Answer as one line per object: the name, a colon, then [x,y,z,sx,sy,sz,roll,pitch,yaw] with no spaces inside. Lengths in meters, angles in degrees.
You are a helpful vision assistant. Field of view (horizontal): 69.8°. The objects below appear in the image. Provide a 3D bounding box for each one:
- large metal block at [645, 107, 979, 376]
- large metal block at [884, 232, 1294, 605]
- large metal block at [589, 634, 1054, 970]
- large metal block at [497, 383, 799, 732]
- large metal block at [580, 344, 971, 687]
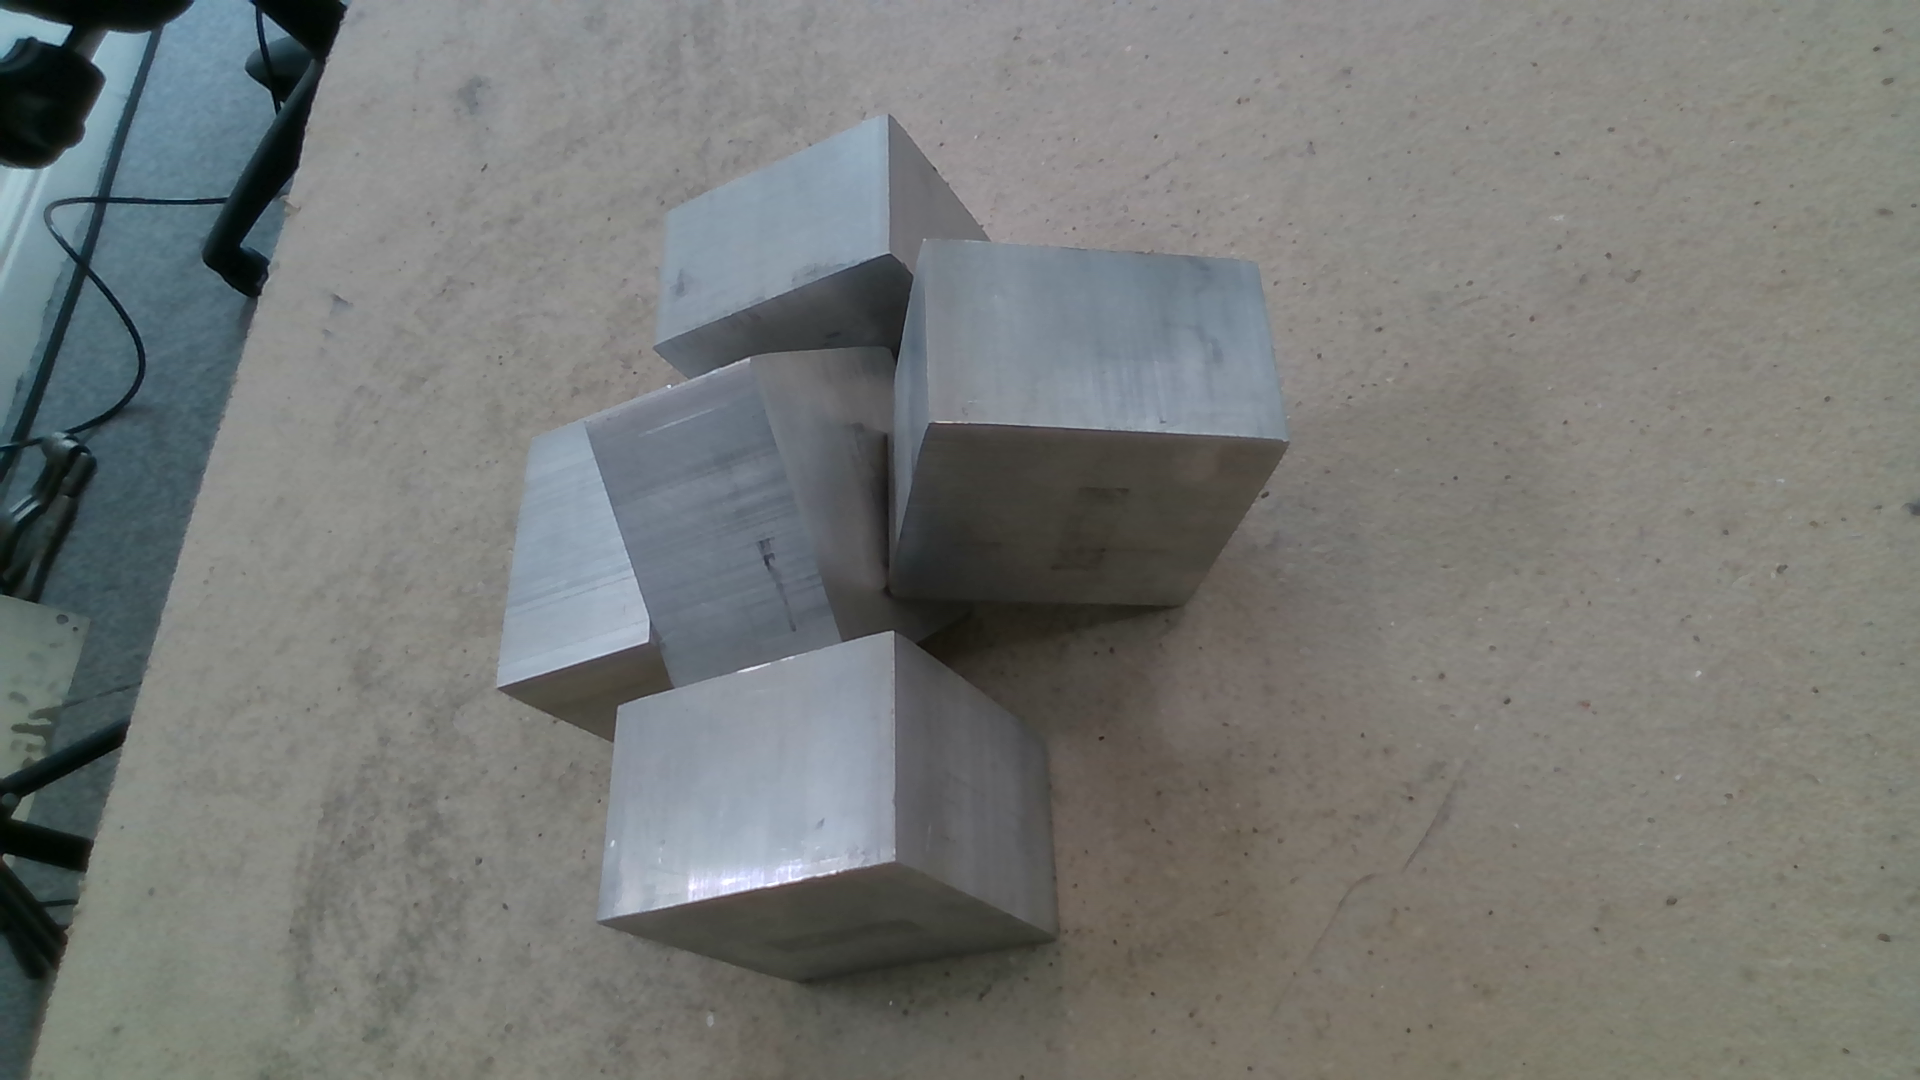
large metal block: [-0.036,-0.071,0.416,0.080,0.080,0.050,-16,59,24]
large metal block: [0.025,-0.026,0.337,0.080,0.080,0.050,2,60,-9]
large metal block: [-0.031,0.069,0.340,0.080,0.080,0.050,-16,59,23]
large metal block: [-0.082,0.014,0.401,0.050,0.080,0.080,-17,58,24]
large metal block: [-0.045,-0.005,0.370,0.050,0.080,0.080,-16,93,23]
